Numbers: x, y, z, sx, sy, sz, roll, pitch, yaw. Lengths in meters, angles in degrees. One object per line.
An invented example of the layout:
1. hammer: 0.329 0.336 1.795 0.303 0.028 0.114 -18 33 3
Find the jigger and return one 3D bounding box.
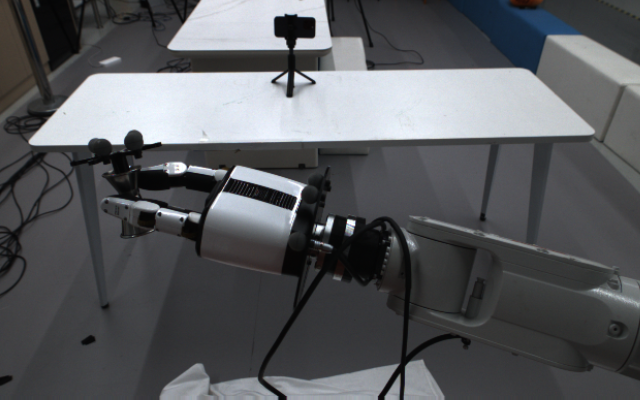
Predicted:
1. jigger: -0.196 0.001 0.514 0.043 0.071 0.043 -11 16 3
